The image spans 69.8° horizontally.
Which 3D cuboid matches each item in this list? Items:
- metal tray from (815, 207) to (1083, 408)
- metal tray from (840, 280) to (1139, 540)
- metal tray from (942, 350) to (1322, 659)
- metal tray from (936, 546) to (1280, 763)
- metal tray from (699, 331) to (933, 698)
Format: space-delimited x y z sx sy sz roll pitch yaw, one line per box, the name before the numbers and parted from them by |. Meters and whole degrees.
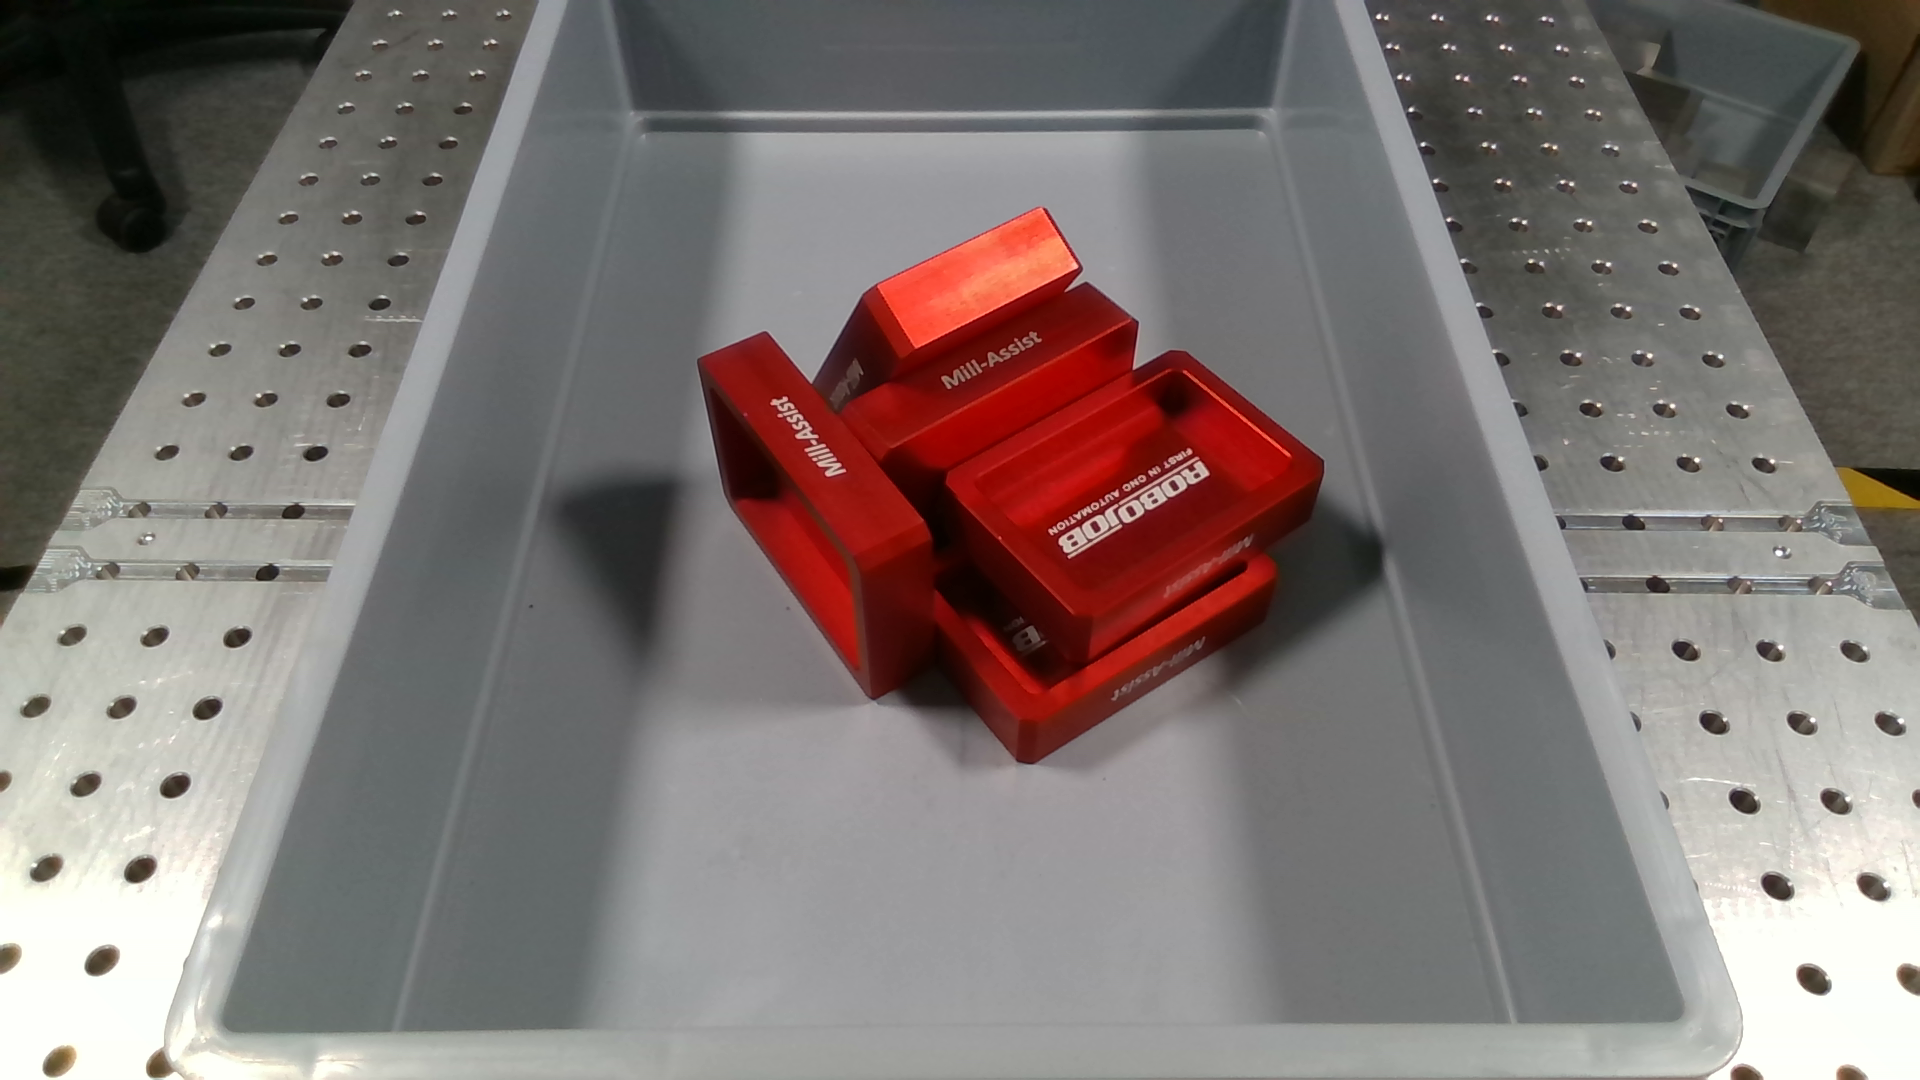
metal tray | -0.012 -0.086 0.590 0.090 0.130 0.030 -30 86 -23
metal tray | 0.013 -0.043 0.578 0.130 0.090 0.030 -30 56 -23
metal tray | 0.069 -0.018 0.558 0.130 0.030 0.090 -29 56 -23
metal tray | 0.053 0.023 0.564 0.130 0.030 0.090 -27 54 -22
metal tray | -0.058 -0.011 0.552 0.030 0.090 0.130 -26 55 -20
